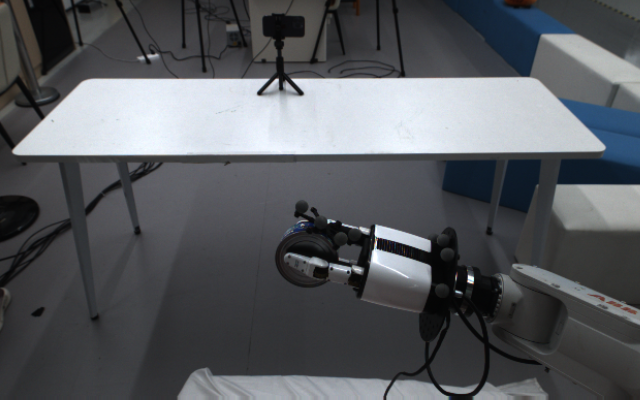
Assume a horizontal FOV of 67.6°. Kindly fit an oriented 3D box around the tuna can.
[{"bbox_3d":[-0.015,0.075,0.662,0.085,0.085,0.034,4,20,3],"label":"tuna can"}]
